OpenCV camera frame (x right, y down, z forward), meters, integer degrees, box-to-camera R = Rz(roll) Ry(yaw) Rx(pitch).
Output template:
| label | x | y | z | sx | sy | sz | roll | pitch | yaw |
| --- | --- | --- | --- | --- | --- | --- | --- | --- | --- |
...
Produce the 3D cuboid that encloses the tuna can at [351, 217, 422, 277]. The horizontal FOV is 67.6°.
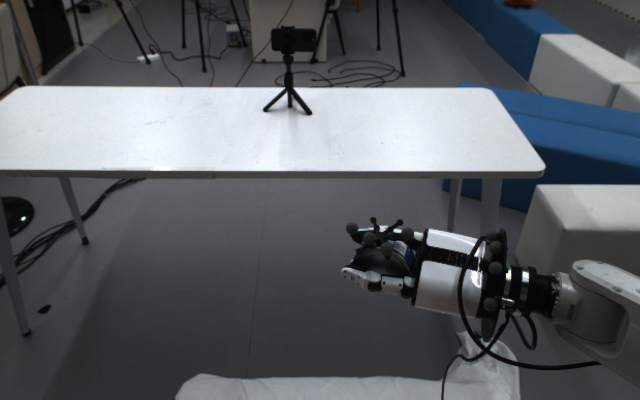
| label | x | y | z | sx | sy | sz | roll | pitch | yaw |
| --- | --- | --- | --- | --- | --- | --- | --- | --- | --- |
| tuna can | 0.095 | 0.089 | 0.701 | 0.085 | 0.085 | 0.034 | 14 | 41 | 16 |
